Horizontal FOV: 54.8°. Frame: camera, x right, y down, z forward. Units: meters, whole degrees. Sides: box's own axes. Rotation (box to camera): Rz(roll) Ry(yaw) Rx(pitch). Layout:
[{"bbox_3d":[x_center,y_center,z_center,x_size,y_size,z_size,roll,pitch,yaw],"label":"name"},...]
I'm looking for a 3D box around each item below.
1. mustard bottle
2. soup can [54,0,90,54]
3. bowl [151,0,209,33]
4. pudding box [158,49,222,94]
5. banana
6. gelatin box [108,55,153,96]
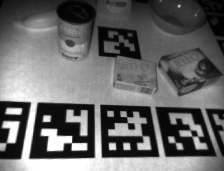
[{"bbox_3d":[0.023,-0.268,0.511,0.096,0.192,0.058,4,52,-9],"label":"mustard bottle"},{"bbox_3d":[-0.085,-0.123,0.444,0.068,0.102,0.067,7,53,-9],"label":"soup can"},{"bbox_3d":[0.179,-0.195,0.596,0.162,0.055,0.161,6,54,-7],"label":"bowl"},{"bbox_3d":[0.175,-0.038,0.492,0.115,0.038,0.089,-17,66,-22],"label":"pudding box"},{"bbox_3d":[-0.135,-0.195,0.533,0.073,0.039,0.198,33,55,24],"label":"banana"},{"bbox_3d":[0.040,-0.022,0.457,0.089,0.030,0.073,10,57,-5],"label":"gelatin box"}]
